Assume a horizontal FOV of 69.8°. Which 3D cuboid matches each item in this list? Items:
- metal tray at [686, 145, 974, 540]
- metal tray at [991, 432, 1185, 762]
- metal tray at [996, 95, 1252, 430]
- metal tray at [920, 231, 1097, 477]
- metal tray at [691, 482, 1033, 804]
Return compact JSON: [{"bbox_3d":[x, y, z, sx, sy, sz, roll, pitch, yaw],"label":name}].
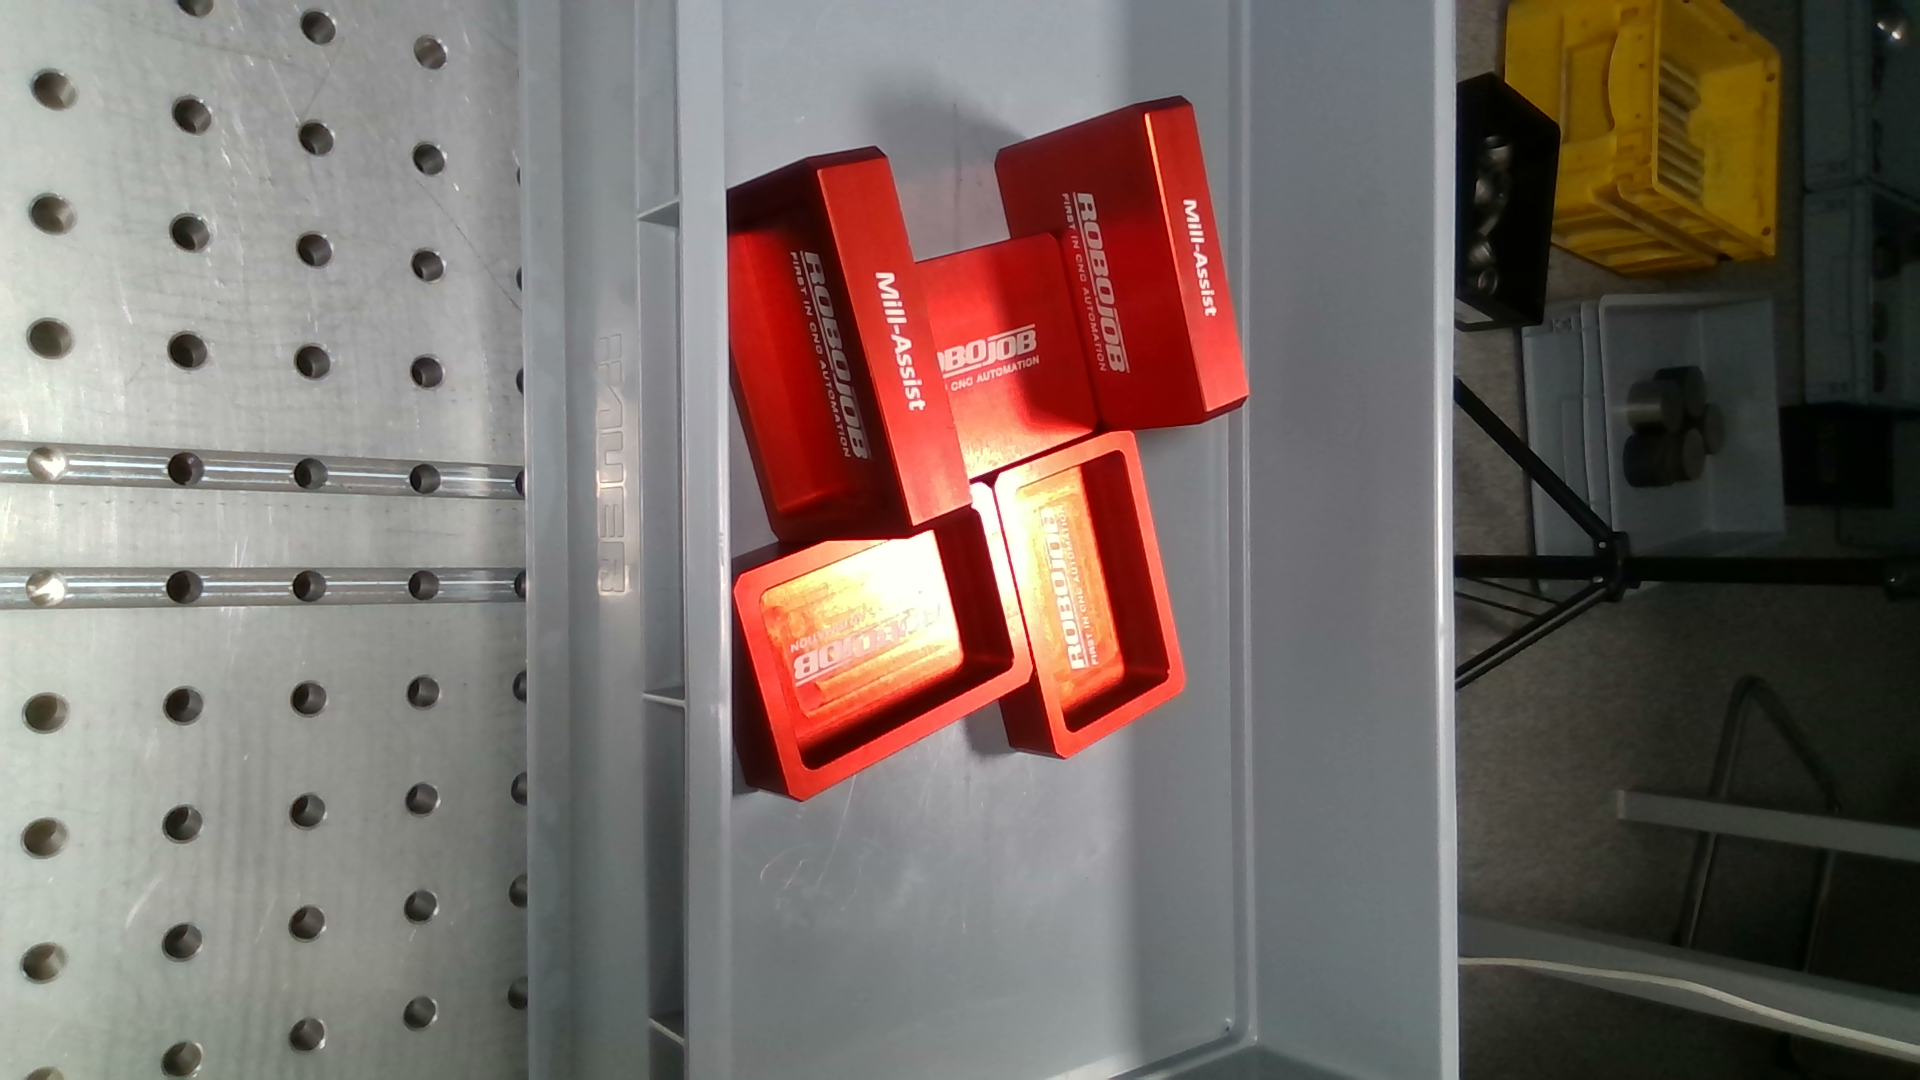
[{"bbox_3d":[-0.048,-0.066,0.497,0.030,0.090,0.130,-23,104,-38],"label":"metal tray"},{"bbox_3d":[0.051,0.023,0.621,0.090,0.030,0.130,-22,104,-38],"label":"metal tray"},{"bbox_3d":[0.070,-0.115,0.595,0.030,0.090,0.130,-23,105,-38],"label":"metal tray"},{"bbox_3d":[-0.005,-0.072,0.573,0.130,0.030,0.090,-22,104,-38],"label":"metal tray"},{"bbox_3d":[-0.034,0.037,0.549,0.130,0.030,0.090,-22,104,-38],"label":"metal tray"}]
